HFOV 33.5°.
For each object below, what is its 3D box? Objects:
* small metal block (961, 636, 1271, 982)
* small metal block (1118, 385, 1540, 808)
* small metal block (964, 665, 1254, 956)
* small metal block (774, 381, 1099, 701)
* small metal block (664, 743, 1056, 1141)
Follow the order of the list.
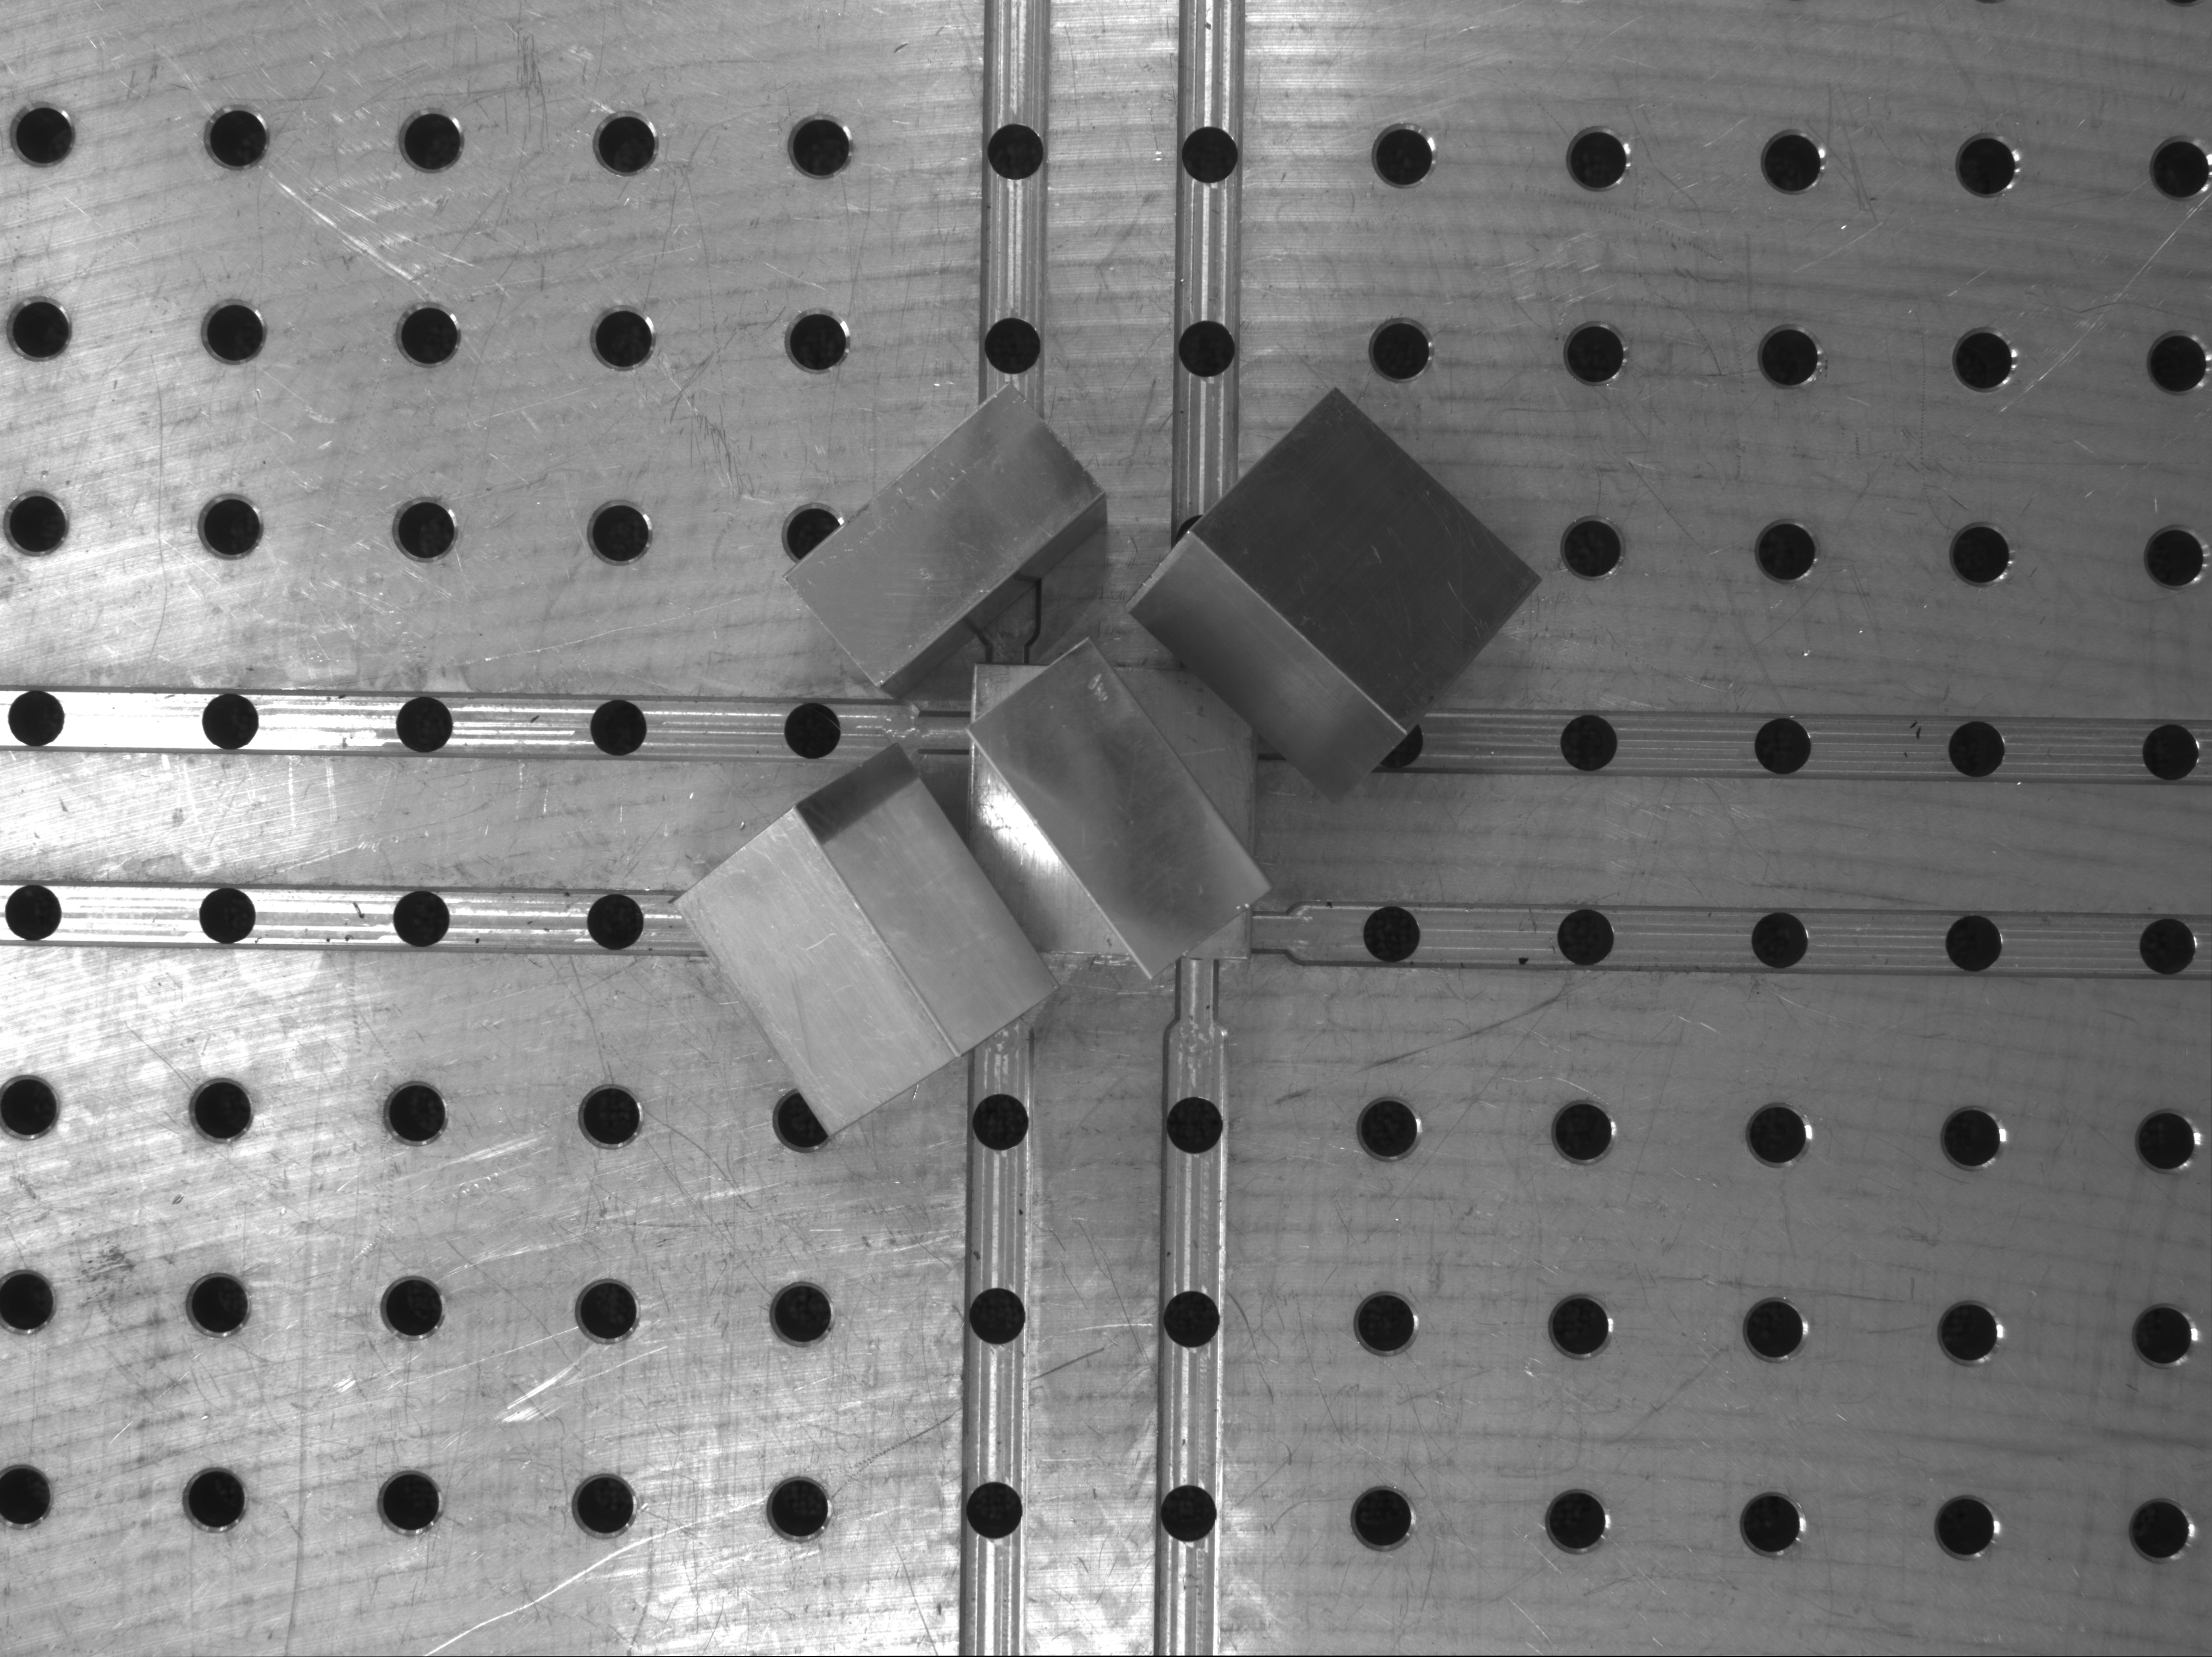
[{"bbox_3d":[0.001,-0.003,0.611,0.025,0.050,0.050,-36,90,-1],"label":"small metal block"},{"bbox_3d":[0.039,-0.041,0.635,0.050,0.025,0.050,43,50,0],"label":"small metal block"},{"bbox_3d":[0.000,-0.003,0.648,0.050,0.025,0.050,1,90,-1],"label":"small metal block"},{"bbox_3d":[-0.028,-0.049,0.636,0.050,0.050,0.025,-41,90,0],"label":"small metal block"},{"bbox_3d":[-0.043,0.020,0.633,0.025,0.050,0.050,-33,90,-37],"label":"small metal block"}]
